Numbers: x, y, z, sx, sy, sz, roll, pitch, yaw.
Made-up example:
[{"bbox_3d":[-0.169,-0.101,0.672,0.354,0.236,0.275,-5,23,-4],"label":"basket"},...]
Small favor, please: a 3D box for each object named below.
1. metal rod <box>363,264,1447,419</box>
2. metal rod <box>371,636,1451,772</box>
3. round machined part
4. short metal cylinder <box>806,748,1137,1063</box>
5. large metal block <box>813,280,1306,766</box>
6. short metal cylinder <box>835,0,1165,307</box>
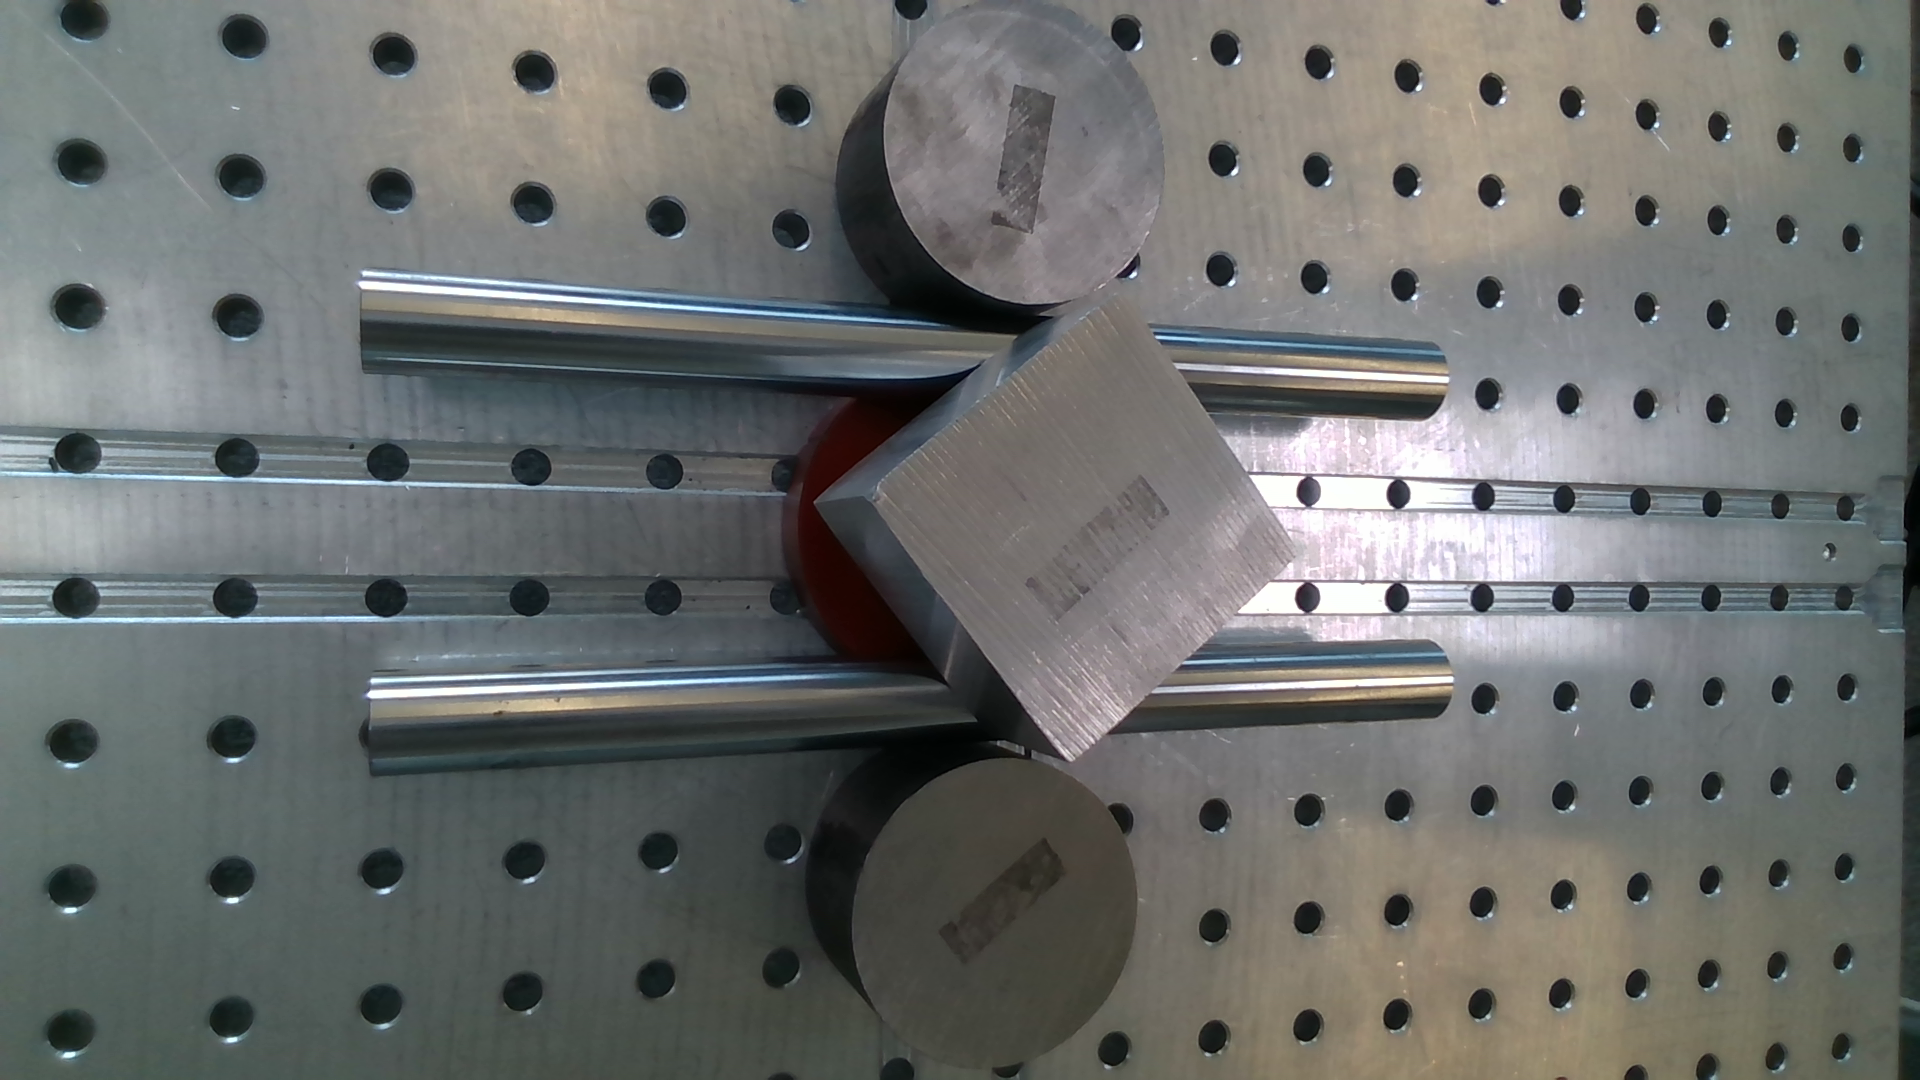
[{"bbox_3d":[0.002,-0.051,0.375,0.300,0.025,0.025,0,90,-20],"label":"metal rod"},{"bbox_3d":[0.003,0.042,0.376,0.300,0.025,0.025,0,90,-20],"label":"metal rod"},{"bbox_3d":[0.002,-0.004,0.389,0.098,0.042,0.098,0,90,-20],"label":"round machined part"},{"bbox_3d":[0.002,0.097,0.384,0.080,0.050,0.080,0,90,-20],"label":"short metal cylinder"},{"bbox_3d":[0.023,-0.004,0.342,0.080,0.050,0.080,-40,103,-16],"label":"large metal block"},{"bbox_3d":[0.010,-0.103,0.387,0.080,0.050,0.080,0,90,-20],"label":"short metal cylinder"}]
